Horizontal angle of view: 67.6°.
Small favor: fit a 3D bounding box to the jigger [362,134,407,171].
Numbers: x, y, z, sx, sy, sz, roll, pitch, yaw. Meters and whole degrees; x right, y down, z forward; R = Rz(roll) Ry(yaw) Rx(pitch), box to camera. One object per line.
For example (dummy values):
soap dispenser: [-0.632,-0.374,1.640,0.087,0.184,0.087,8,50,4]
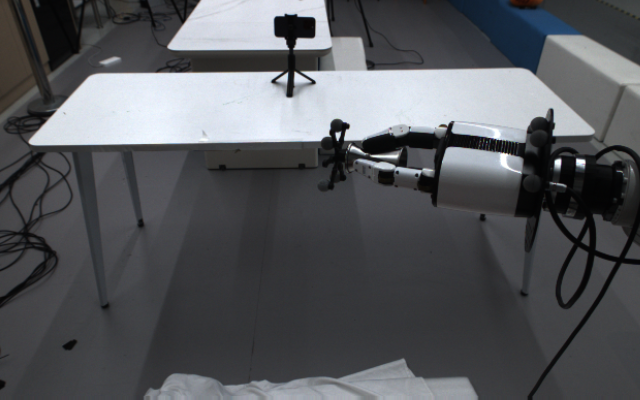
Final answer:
jigger: [0.075,-0.051,0.599,0.071,0.043,0.043,10,35,22]
